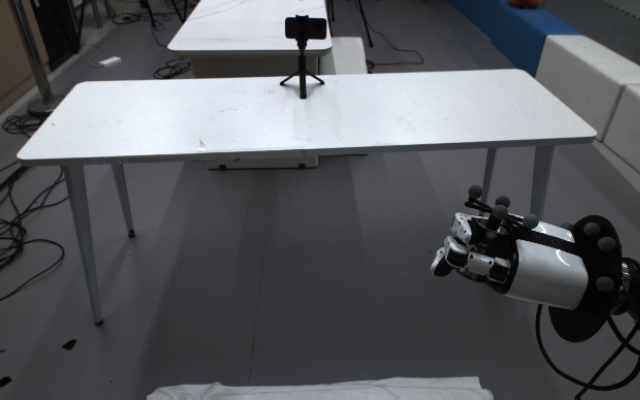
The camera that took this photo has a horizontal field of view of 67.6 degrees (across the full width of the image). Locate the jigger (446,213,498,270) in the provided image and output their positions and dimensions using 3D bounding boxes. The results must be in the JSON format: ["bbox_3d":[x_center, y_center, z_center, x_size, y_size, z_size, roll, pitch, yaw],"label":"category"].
[{"bbox_3d":[0.200,0.062,0.601,0.043,0.071,0.043,18,17,-6],"label":"jigger"}]
